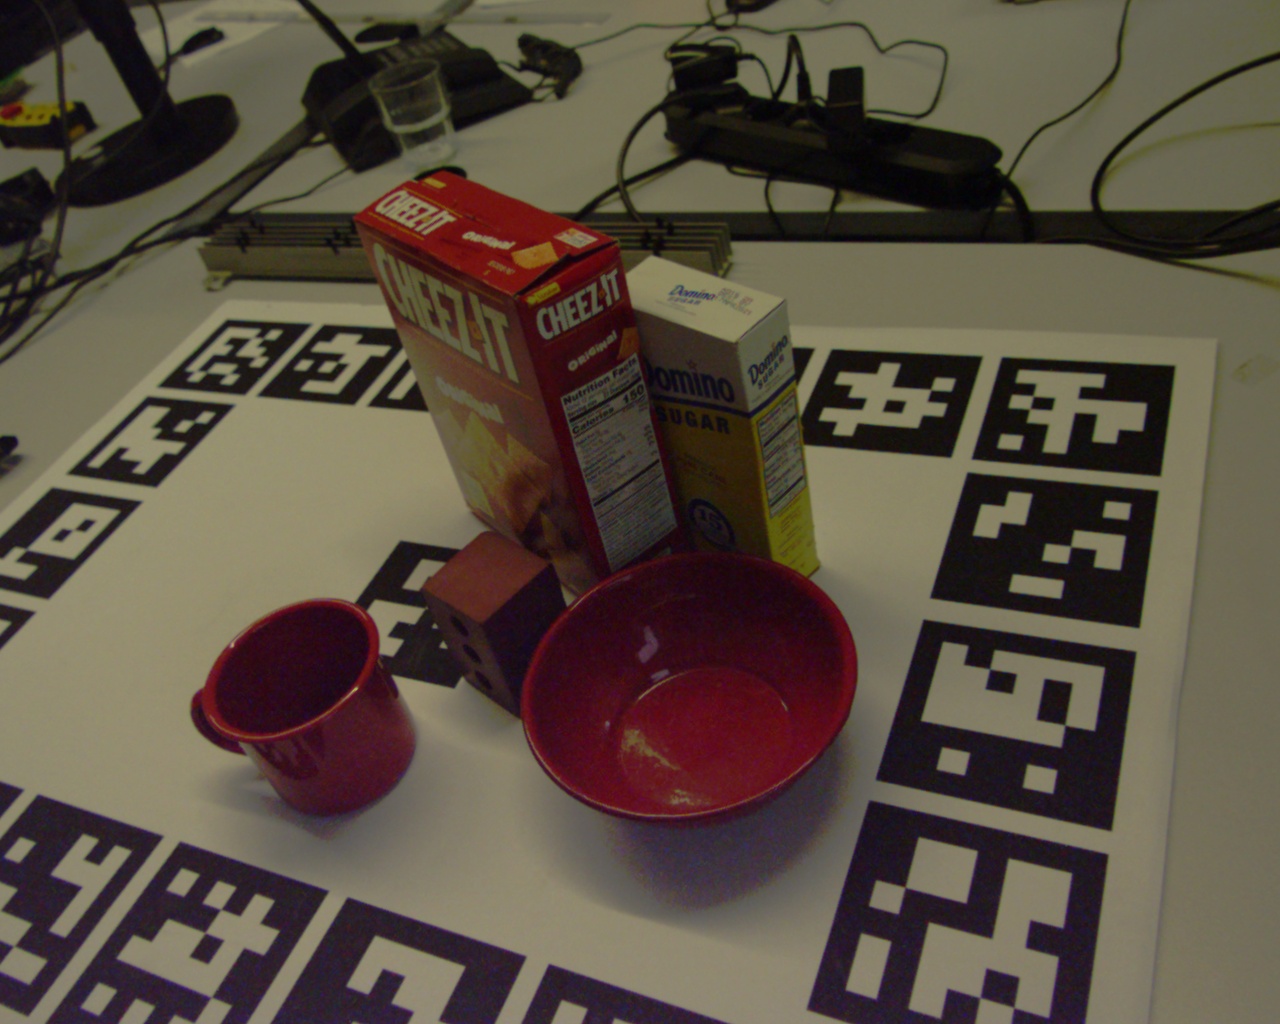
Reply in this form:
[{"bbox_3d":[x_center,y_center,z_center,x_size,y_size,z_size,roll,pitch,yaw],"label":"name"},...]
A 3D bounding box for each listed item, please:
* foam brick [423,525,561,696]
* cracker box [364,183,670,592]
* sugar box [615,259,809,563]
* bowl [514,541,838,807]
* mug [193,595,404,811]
[{"bbox_3d":[-0.078,0.058,0.650,0.053,0.077,0.051,20,52,36],"label":"foam brick"},{"bbox_3d":[-0.071,-0.065,0.674,0.071,0.212,0.166,-33,44,-22],"label":"cracker box"},{"bbox_3d":[0.038,-0.049,0.644,0.094,0.175,0.045,26,56,39],"label":"sugar box"},{"bbox_3d":[0.020,0.090,0.574,0.162,0.055,0.162,-10,42,9],"label":"bowl"},{"bbox_3d":[-0.189,0.106,0.621,0.118,0.081,0.093,-1,35,20],"label":"mug"}]
